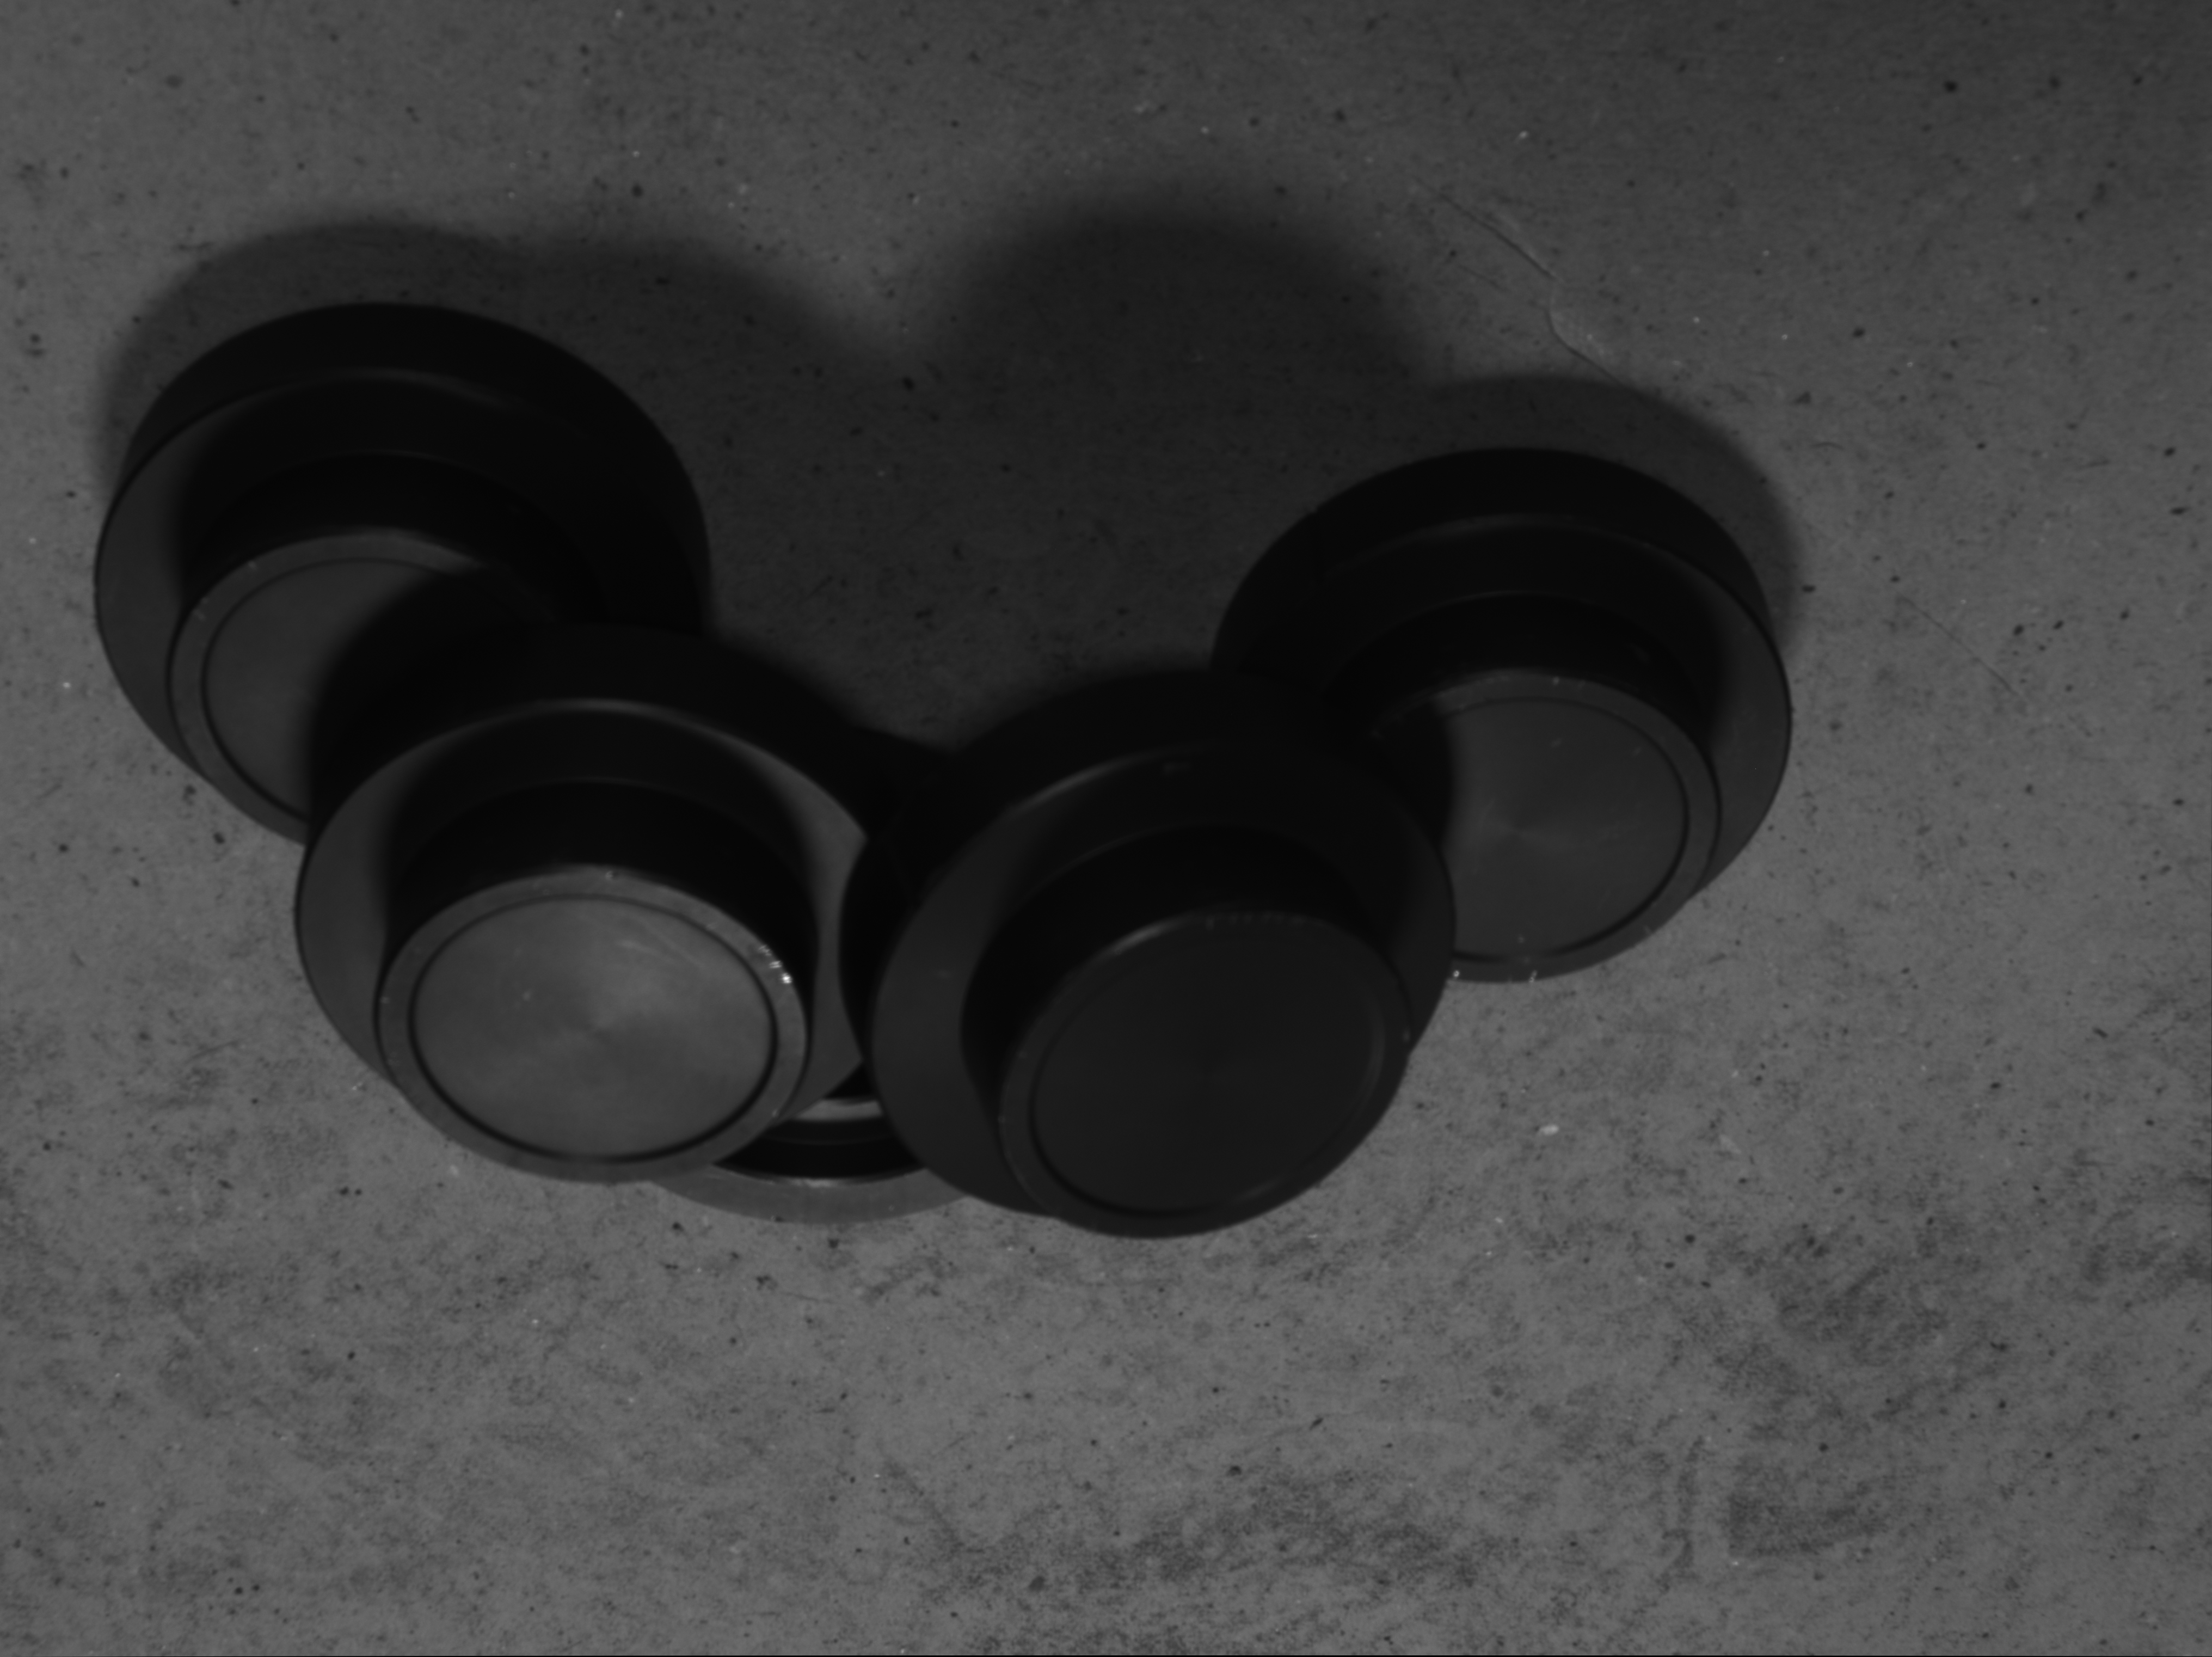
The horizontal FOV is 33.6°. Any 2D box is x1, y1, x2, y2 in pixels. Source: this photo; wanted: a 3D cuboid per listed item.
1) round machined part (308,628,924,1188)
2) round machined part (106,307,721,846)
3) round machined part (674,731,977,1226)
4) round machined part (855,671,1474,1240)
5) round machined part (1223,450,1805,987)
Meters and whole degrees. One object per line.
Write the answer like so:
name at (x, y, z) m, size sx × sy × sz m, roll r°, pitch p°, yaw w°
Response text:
round machined part at (-0.078, 0.019, 0.586) m, size 0.098 × 0.042 × 0.098 m, roll -1°, pitch 130°, yaw -1°
round machined part at (-0.113, -0.032, 0.596) m, size 0.098 × 0.042 × 0.098 m, roll -1°, pitch 130°, yaw -1°
round machined part at (-0.048, 0.021, 0.643) m, size 0.098 × 0.042 × 0.098 m, roll -1°, pitch 130°, yaw -1°
round machined part at (0.012, 0.027, 0.582) m, size 0.098 × 0.042 × 0.098 m, roll -9°, pitch 130°, yaw -11°
round machined part at (0.069, -0.012, 0.619) m, size 0.098 × 0.042 × 0.098 m, roll -1°, pitch 130°, yaw -1°
